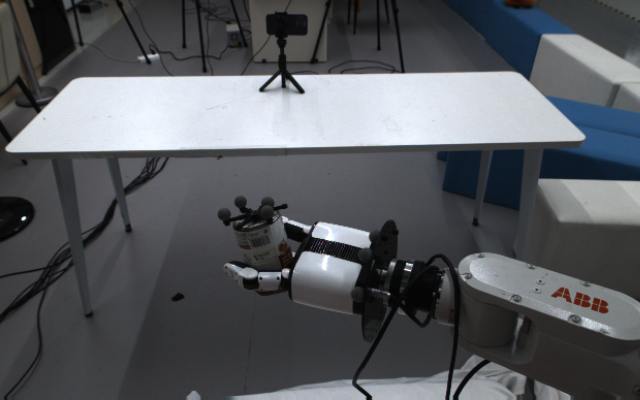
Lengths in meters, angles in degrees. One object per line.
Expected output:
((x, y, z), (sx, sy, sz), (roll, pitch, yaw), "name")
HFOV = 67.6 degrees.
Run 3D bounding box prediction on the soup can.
((-0.072, 0.070, 0.661), (0.067, 0.101, 0.067), (-13, 20, 5), "soup can")
